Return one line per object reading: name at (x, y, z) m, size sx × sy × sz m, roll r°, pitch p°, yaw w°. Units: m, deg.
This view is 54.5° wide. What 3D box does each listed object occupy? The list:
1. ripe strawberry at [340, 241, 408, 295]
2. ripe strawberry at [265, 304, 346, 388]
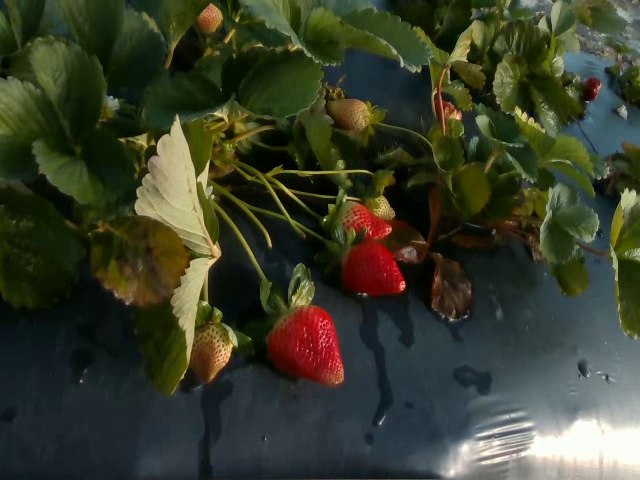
ripe strawberry at (0.041, 0.026, 0.451) m, size 0.055 × 0.045 × 0.042 m, roll 29°, pitch -10°, yaw 31°
ripe strawberry at (-0.004, 0.070, 0.392) m, size 0.050 × 0.050 × 0.065 m, roll -32°, pitch 50°, yaw -15°
